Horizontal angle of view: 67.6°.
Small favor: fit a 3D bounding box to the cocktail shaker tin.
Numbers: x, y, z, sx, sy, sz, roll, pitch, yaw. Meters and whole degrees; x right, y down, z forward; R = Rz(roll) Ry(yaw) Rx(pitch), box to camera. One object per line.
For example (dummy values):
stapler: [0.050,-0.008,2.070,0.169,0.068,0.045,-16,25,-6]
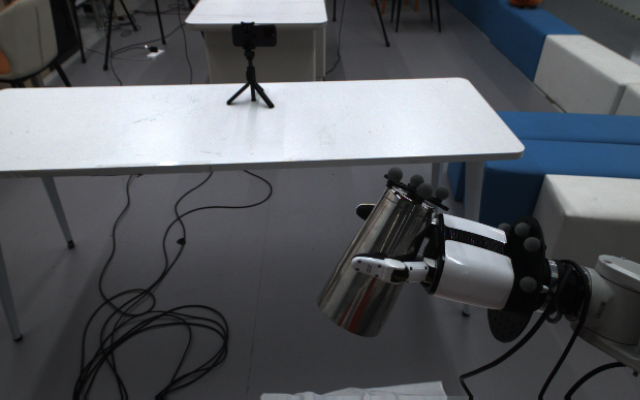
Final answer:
cocktail shaker tin: [0.076,0.069,0.599,0.093,0.170,0.093,24,12,-6]
